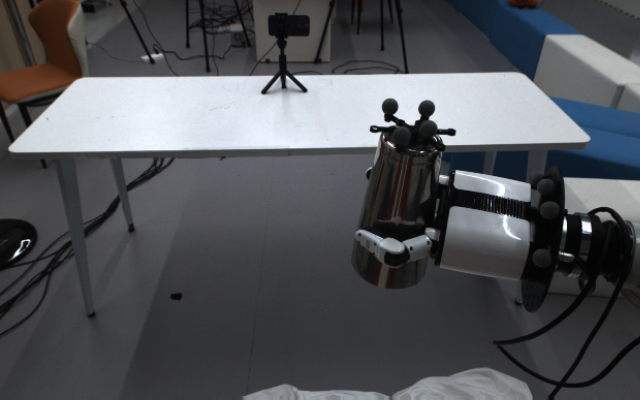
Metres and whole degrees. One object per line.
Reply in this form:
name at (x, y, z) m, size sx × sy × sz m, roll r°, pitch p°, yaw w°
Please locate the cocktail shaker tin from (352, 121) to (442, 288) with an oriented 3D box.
cocktail shaker tin at (0.091, 0.005, 0.547) m, size 0.093 × 0.170 × 0.093 m, roll 3°, pitch 34°, yaw -2°
